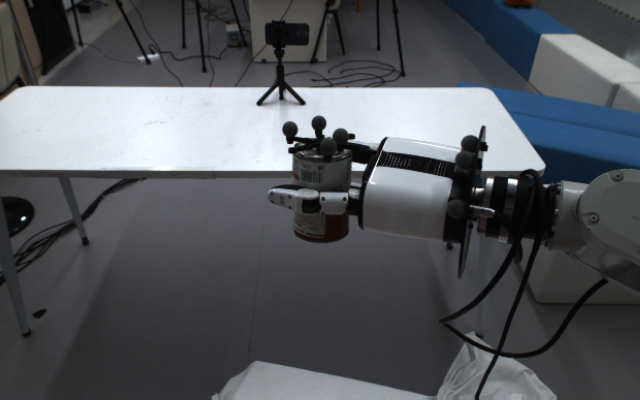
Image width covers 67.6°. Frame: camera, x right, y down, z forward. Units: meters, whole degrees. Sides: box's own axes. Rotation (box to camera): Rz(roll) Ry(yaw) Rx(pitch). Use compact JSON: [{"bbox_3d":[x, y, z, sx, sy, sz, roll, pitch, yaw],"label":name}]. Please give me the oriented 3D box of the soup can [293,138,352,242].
[{"bbox_3d":[0.004,-0.011,0.552,0.067,0.101,0.067,1,25,0],"label":"soup can"}]
